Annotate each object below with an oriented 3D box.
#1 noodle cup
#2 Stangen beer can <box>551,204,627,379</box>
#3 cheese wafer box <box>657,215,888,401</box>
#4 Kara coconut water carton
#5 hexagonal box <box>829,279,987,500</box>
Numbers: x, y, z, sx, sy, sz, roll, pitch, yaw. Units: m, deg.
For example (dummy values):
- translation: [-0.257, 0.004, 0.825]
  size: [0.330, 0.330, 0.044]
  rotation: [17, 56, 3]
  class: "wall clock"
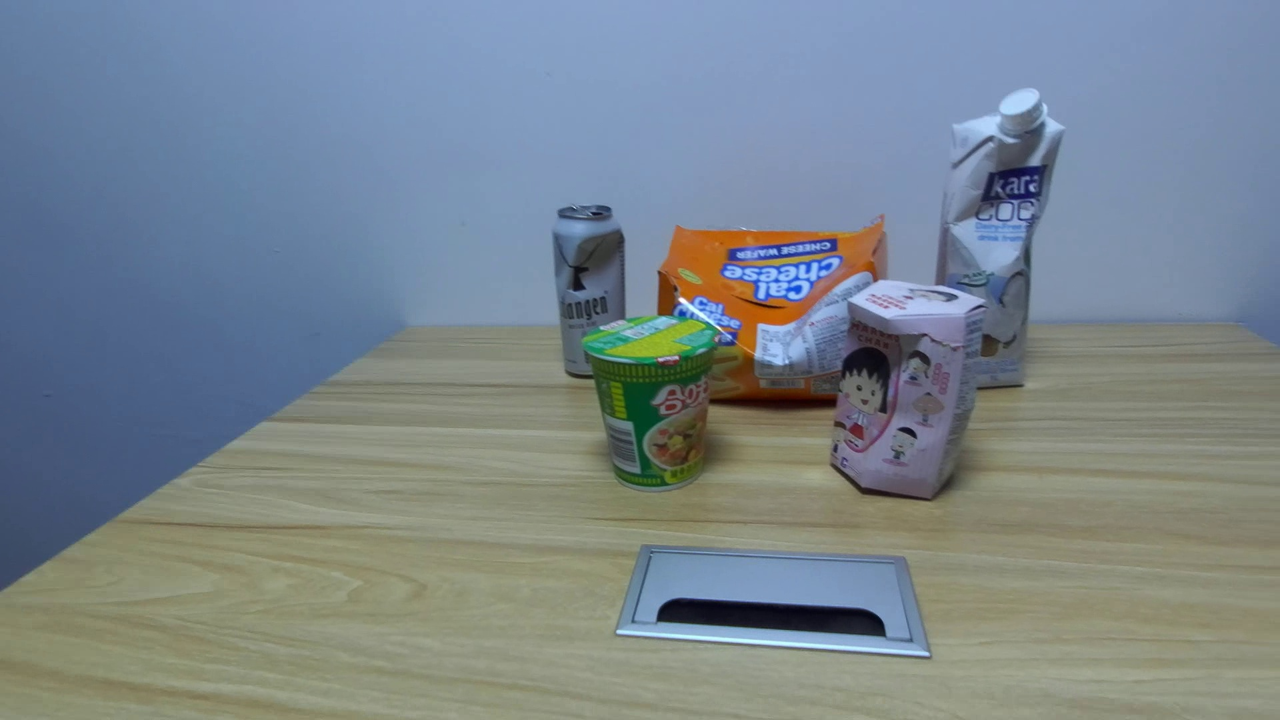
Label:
- translation: [0.009, 0.033, 0.520]
  size: [0.097, 0.110, 0.097]
  rotation: [-2, 21, 1]
  class: "noodle cup"
- translation: [-0.050, -0.070, 0.718]
  size: [0.070, 0.173, 0.069]
  rotation: [2, 23, 11]
  class: "Stangen beer can"
- translation: [0.129, -0.049, 0.672]
  size: [0.218, 0.145, 0.191]
  rotation: [1, 21, 11]
  class: "cheese wafer box"
- translation: [0.308, -0.102, 0.623]
  size: [0.083, 0.256, 0.078]
  rotation: [0, 24, 11]
  class: "Kara coconut water carton"
- translation: [0.187, 0.019, 0.500]
  size: [0.090, 0.134, 0.091]
  rotation: [8, 23, 19]
  class: "hexagonal box"
